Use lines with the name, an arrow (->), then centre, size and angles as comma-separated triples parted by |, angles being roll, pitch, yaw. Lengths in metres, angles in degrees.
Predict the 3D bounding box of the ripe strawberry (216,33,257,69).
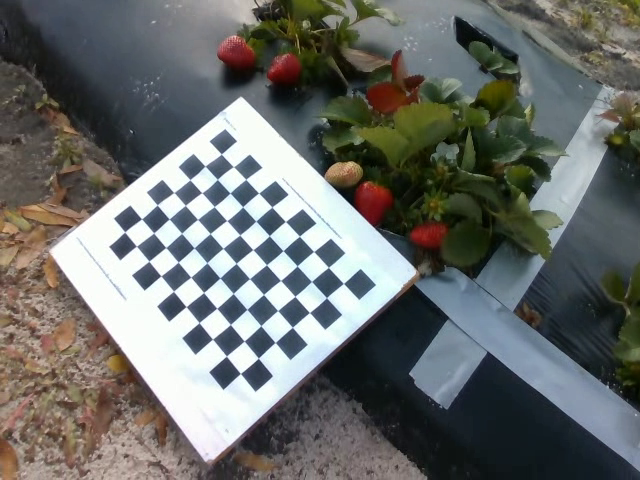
ripe strawberry -> -0.111, -0.243, 0.837 | 0.050, 0.045, 0.061 | 33, 40, 22

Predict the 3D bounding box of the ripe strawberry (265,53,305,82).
ripe strawberry -> -0.048, -0.224, 0.828 | 0.042, 0.034, 0.053 | 28, 41, 21
